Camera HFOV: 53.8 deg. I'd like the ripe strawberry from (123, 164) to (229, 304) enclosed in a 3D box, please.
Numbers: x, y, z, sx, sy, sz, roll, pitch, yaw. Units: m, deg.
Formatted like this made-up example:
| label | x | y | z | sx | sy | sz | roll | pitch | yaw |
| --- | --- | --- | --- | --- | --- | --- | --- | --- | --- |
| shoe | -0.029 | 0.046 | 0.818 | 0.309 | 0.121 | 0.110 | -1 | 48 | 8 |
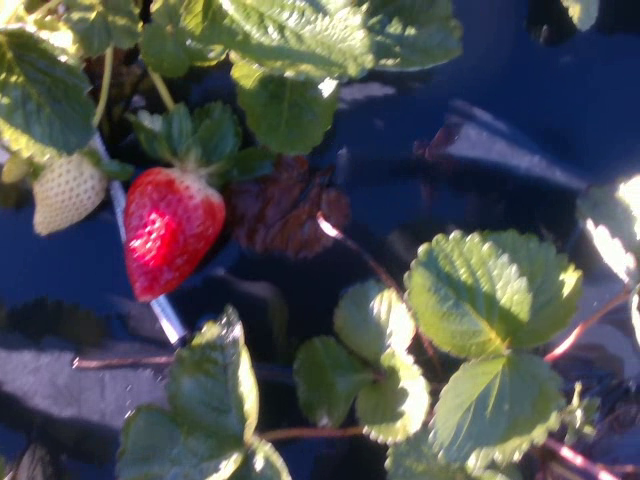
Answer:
| label | x | y | z | sx | sy | sz | roll | pitch | yaw |
| --- | --- | --- | --- | --- | --- | --- | --- | --- | --- |
| ripe strawberry | -0.072 | -0.005 | 0.304 | 0.062 | 0.080 | 0.040 | 24 | -11 | -27 |
